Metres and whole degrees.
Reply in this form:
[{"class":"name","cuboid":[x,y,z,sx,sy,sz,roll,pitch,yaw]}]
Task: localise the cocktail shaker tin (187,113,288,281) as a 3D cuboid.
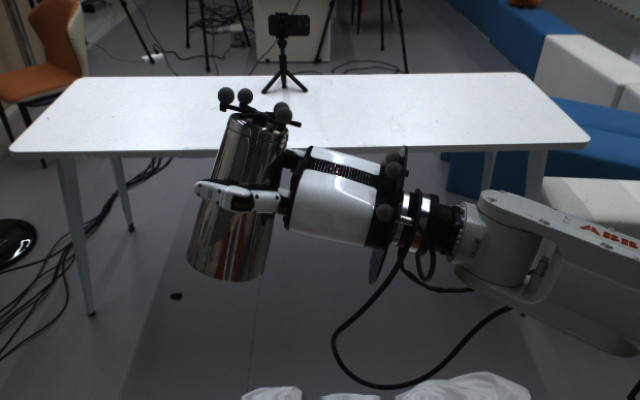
[{"class":"cocktail shaker tin","cuboid":[-0.087,-0.005,0.543,0.093,0.170,0.093,15,17,-5]}]
